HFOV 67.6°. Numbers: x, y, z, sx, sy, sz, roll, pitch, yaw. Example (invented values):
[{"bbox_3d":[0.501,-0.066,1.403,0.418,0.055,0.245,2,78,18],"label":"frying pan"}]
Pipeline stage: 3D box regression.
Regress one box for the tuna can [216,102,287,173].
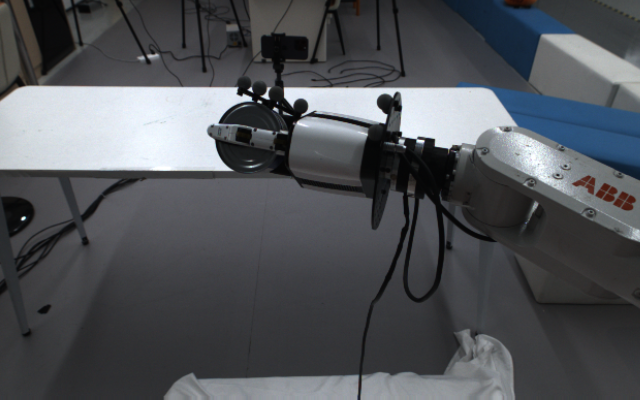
[{"bbox_3d":[-0.079,-0.075,0.589,0.085,0.085,0.034,13,3,16],"label":"tuna can"}]
